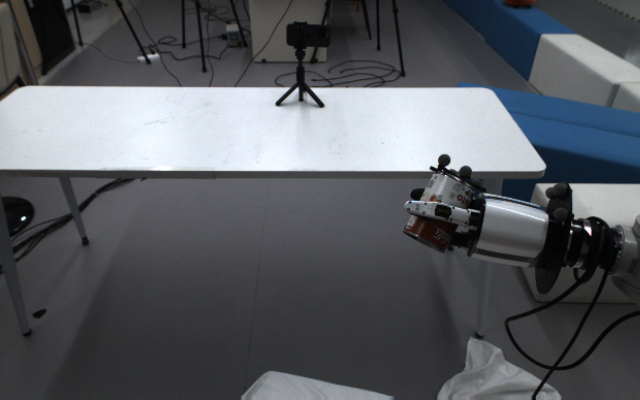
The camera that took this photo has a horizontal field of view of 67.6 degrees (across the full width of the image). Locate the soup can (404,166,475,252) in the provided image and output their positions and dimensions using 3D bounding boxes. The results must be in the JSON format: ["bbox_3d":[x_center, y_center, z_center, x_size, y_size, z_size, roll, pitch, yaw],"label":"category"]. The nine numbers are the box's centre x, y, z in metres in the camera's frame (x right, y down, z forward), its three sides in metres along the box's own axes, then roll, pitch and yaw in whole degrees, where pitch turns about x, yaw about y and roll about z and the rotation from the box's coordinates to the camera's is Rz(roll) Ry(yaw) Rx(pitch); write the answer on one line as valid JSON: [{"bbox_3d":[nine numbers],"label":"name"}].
[{"bbox_3d":[0.176,0.016,0.707,0.067,0.101,0.067,28,-3,1],"label":"soup can"}]
